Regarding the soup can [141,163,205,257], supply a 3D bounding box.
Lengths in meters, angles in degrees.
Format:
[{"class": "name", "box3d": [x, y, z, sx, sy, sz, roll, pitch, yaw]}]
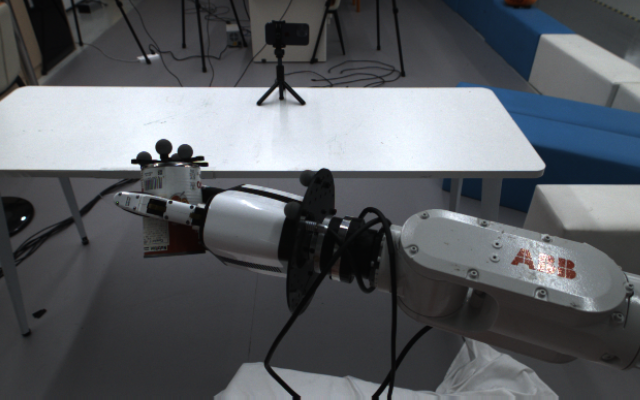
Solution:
[{"class": "soup can", "box3d": [-0.165, 0.014, 0.551, 0.067, 0.101, 0.067, -5, -6, 0]}]
